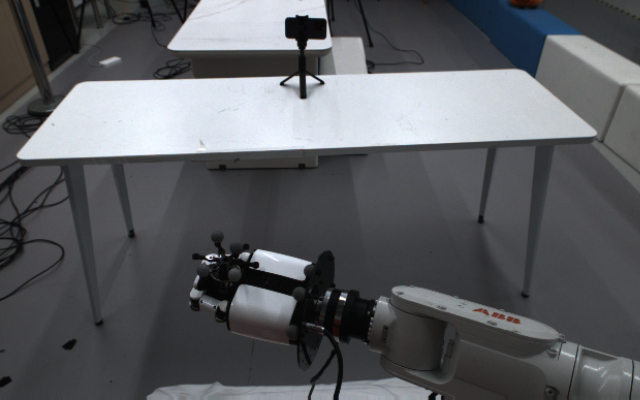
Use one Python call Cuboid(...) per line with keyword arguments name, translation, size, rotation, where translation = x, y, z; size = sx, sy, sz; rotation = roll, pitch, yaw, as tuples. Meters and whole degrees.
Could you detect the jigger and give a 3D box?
Cuboid(name="jigger", translation=(-0.129, 0.123, 0.670), size=(0.043, 0.071, 0.043), rotation=(7, 32, -4))
